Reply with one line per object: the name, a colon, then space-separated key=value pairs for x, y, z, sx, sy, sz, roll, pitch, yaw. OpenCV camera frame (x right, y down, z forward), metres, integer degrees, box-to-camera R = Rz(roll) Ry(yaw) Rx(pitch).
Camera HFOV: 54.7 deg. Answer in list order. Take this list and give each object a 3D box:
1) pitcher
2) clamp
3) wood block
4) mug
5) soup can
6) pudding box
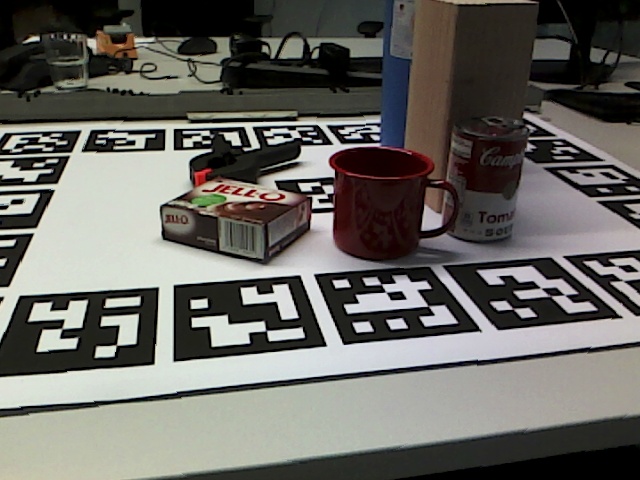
pitcher: x=0.149 y=-0.214 z=0.747 sx=0.188 sy=0.242 sz=0.134 roll=-7 pitch=25 yaw=-10
clamp: x=-0.098 y=-0.088 z=0.727 sx=0.122 sy=0.036 sz=0.165 roll=15 pitch=29 yaw=11
wood block: x=0.151 y=-0.144 z=0.642 sx=0.089 sy=0.206 sz=0.091 roll=-3 pitch=26 yaw=-16
mug: x=0.065 y=-0.030 z=0.554 sx=0.118 sy=0.081 sz=0.093 roll=11 pitch=26 yaw=22
soup can: x=0.152 y=-0.056 z=0.584 sx=0.068 sy=0.102 sz=0.068 roll=1 pitch=29 yaw=-1
pudding box: x=-0.084 y=-0.019 z=0.580 sx=0.114 sy=0.038 sz=0.090 roll=12 pitch=32 yaw=23
